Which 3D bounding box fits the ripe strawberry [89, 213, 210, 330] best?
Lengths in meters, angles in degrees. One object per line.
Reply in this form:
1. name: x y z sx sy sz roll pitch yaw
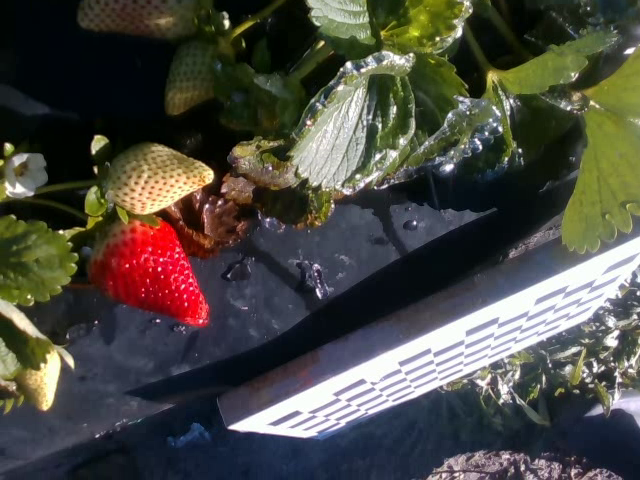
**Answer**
1. ripe strawberry: -0.062 0.015 0.233 0.040 0.053 0.042 -46 -4 34
